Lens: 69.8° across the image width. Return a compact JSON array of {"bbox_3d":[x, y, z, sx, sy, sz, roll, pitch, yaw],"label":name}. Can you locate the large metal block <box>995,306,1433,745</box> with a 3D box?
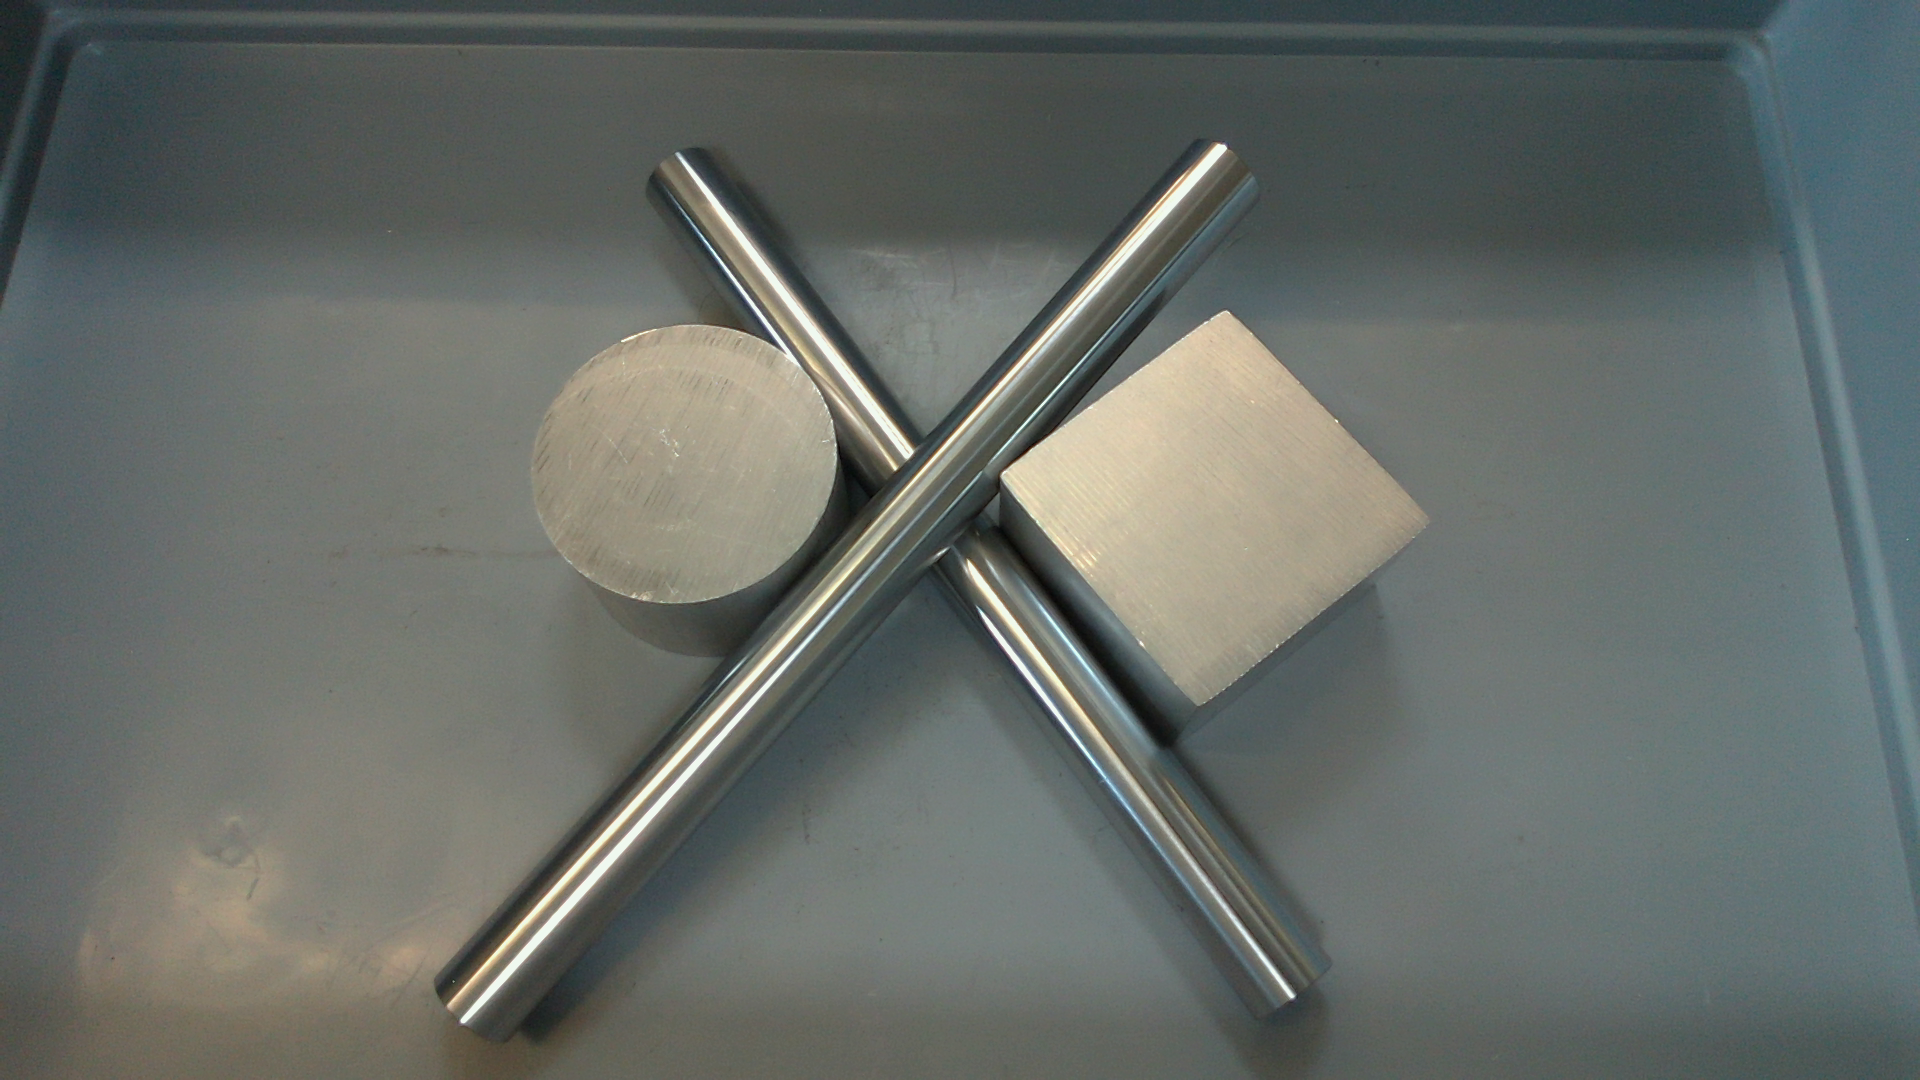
[{"bbox_3d":[0.066,-0.003,0.380,0.080,0.050,0.080,-37,74,-12],"label":"large metal block"}]

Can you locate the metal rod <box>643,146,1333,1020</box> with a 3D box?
[{"bbox_3d":[-0.002,0.000,0.392,0.025,0.025,0.300,-34,74,-11],"label":"metal rod"}]

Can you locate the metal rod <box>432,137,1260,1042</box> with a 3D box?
[{"bbox_3d":[-0.025,0.008,0.368,0.025,0.025,0.300,40,83,13],"label":"metal rod"}]

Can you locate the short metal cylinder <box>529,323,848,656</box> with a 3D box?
[{"bbox_3d":[-0.073,-0.013,0.384,0.080,0.050,0.080,0,70,0],"label":"short metal cylinder"}]
